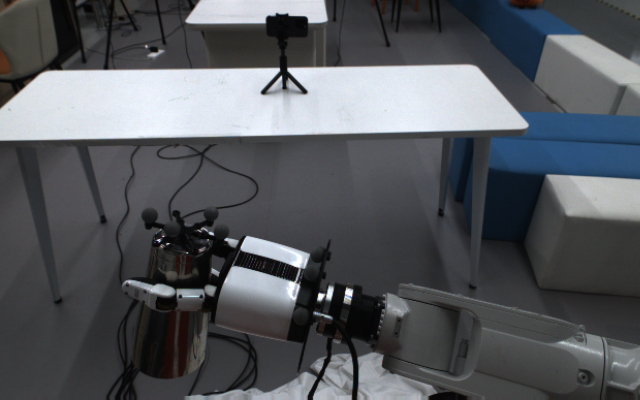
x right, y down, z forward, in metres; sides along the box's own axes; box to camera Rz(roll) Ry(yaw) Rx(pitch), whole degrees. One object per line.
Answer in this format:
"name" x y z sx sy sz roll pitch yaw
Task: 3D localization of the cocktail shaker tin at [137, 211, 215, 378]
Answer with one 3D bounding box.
"cocktail shaker tin" -0.169 0.116 0.581 0.093 0.170 0.093 12 25 -6
